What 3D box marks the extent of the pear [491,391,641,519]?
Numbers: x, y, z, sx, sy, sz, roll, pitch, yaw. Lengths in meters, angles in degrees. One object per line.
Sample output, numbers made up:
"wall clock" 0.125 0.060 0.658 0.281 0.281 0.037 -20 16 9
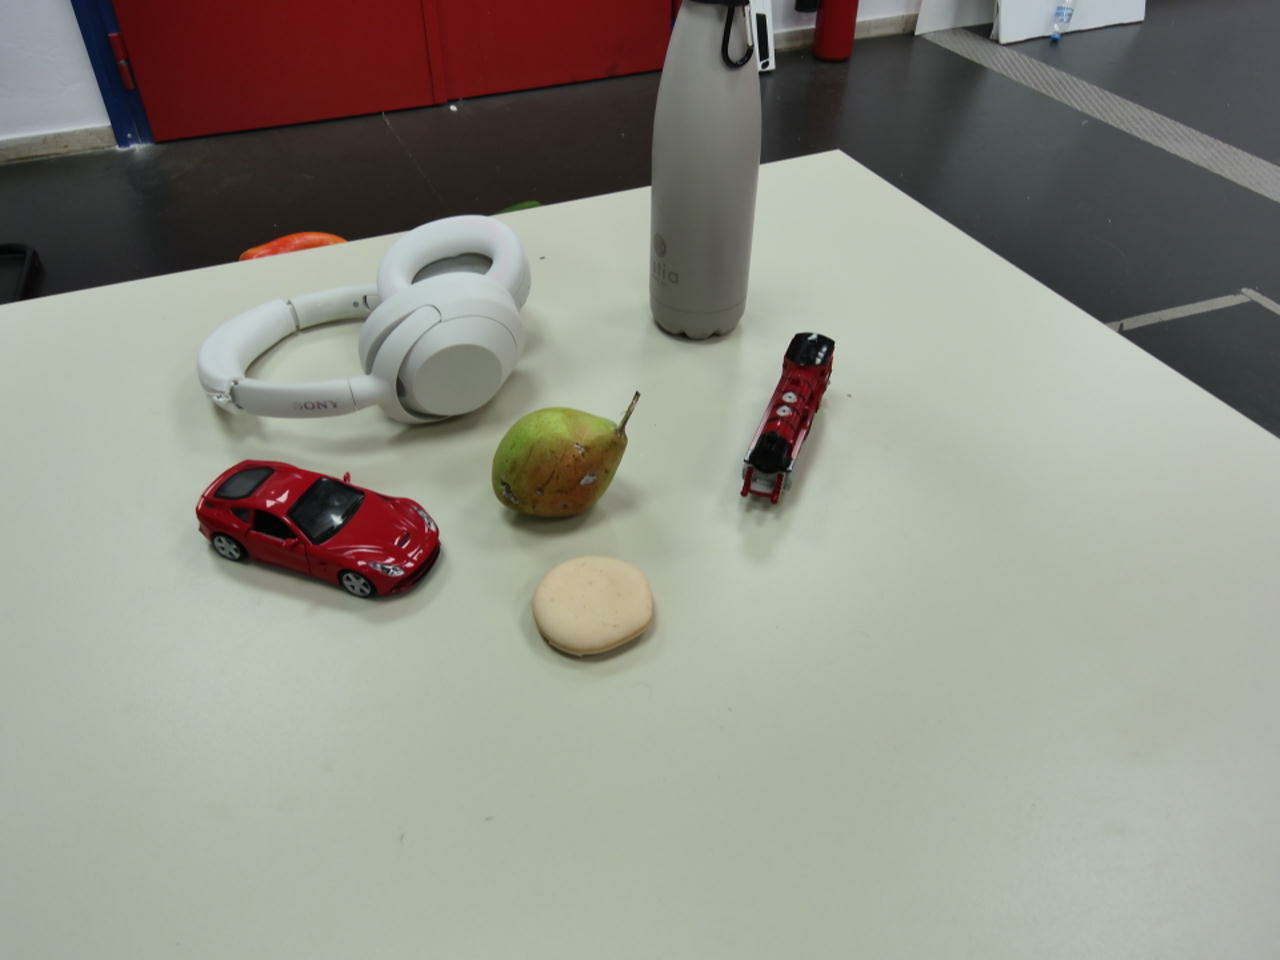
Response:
"pear" -0.046 -0.012 0.560 0.070 0.069 0.068 17 42 20
